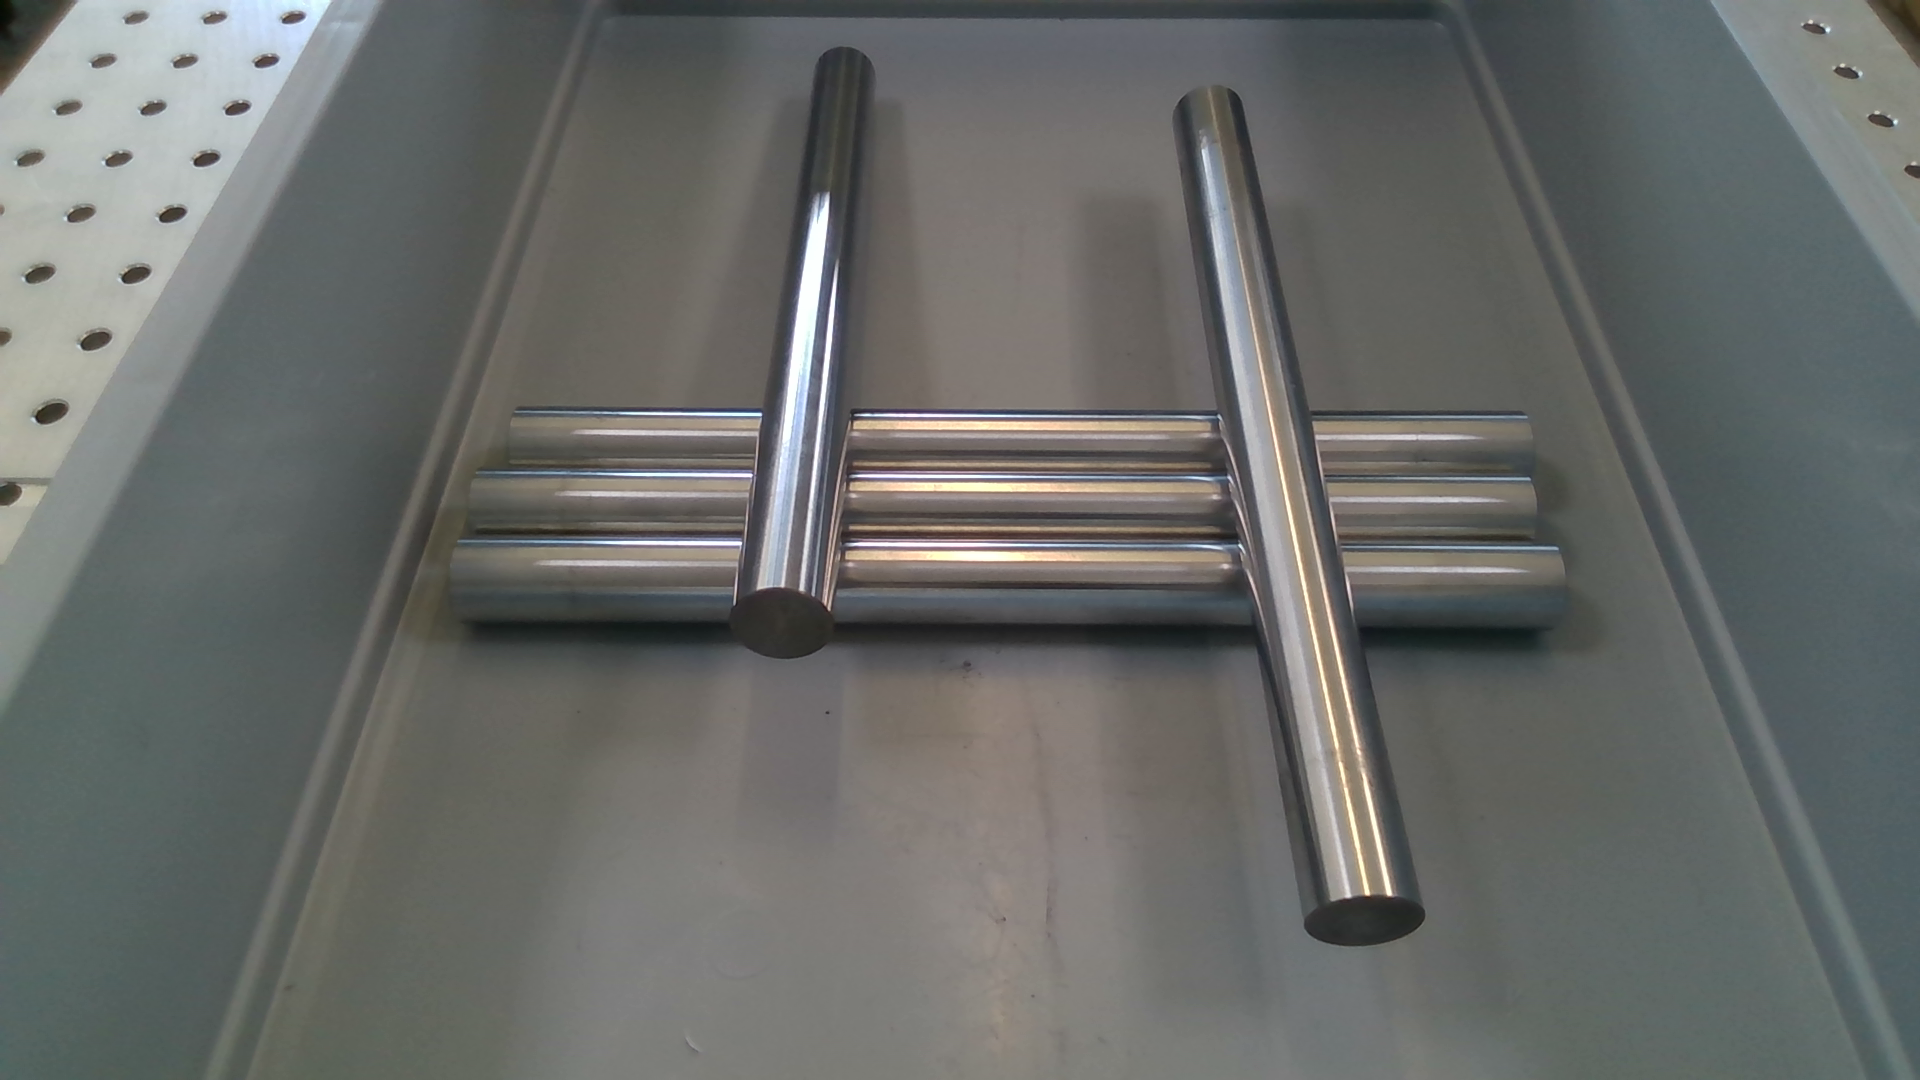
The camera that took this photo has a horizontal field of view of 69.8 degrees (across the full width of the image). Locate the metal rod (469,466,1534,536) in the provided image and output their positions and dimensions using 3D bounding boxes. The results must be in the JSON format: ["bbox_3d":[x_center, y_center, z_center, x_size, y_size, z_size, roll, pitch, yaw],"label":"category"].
[{"bbox_3d":[0.011,-0.008,0.400,0.300,0.025,0.025,0,50,0],"label":"metal rod"}]

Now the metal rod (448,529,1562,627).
[{"bbox_3d":[0.012,0.010,0.383,0.300,0.025,0.025,0,50,0],"label":"metal rod"}]

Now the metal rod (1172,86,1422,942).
[{"bbox_3d":[0.086,-0.034,0.388,0.025,0.025,0.299,0,50,0],"label":"metal rod"}]

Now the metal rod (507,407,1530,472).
[{"bbox_3d":[0.017,-0.027,0.416,0.300,0.025,0.025,0,50,0],"label":"metal rod"}]

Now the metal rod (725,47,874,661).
[{"bbox_3d":[-0.045,-0.082,0.437,0.025,0.025,0.299,0,43,0],"label":"metal rod"}]
